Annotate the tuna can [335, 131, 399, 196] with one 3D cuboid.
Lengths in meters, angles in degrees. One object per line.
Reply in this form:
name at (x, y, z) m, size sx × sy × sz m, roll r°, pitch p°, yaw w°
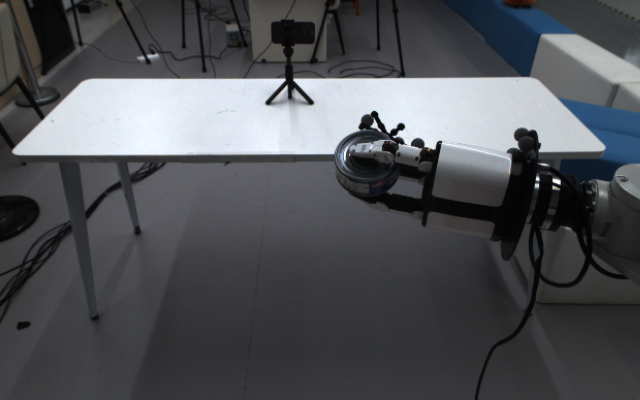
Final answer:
tuna can at (0.065, -0.044, 0.626) m, size 0.085 × 0.034 × 0.085 m, roll -4°, pitch 58°, yaw 6°
